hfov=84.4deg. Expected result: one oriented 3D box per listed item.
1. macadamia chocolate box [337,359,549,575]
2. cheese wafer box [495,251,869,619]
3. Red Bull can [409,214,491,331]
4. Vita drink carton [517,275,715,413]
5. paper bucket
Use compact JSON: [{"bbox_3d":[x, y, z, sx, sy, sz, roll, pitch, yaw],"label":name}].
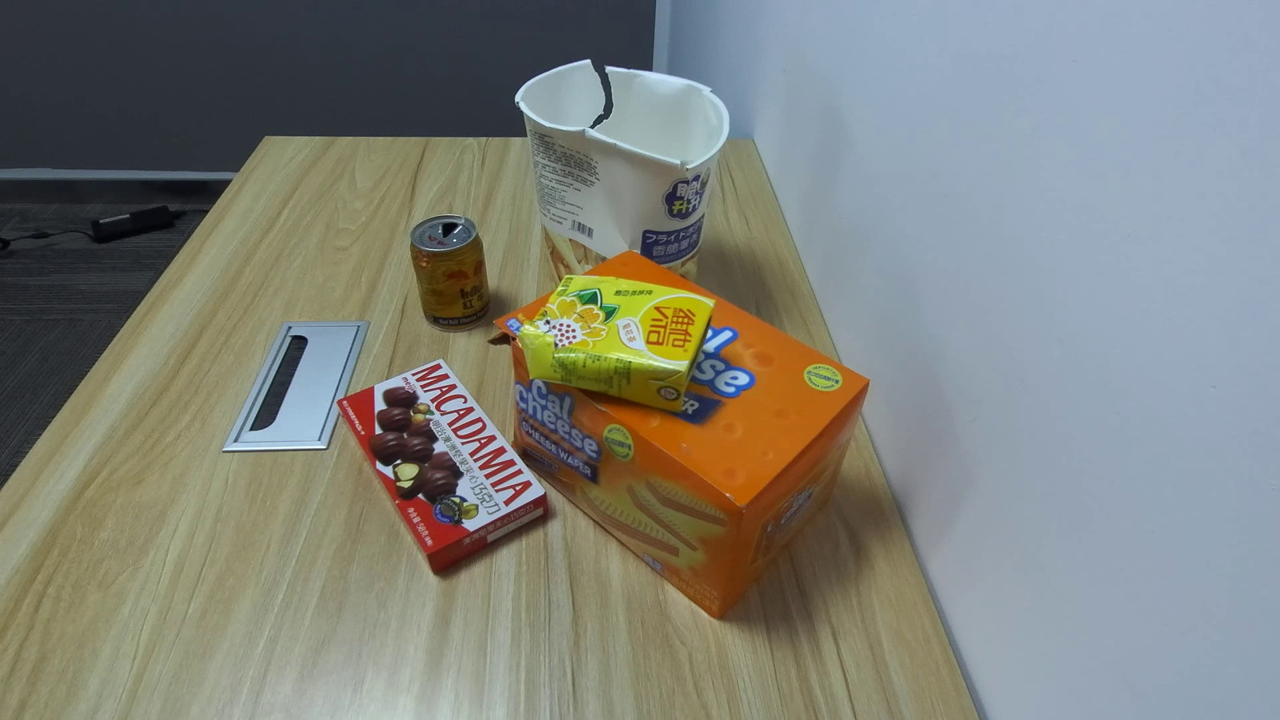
[{"bbox_3d":[-0.157,0.074,0.552,0.096,0.027,0.177,-24,50,-28],"label":"macadamia chocolate box"},{"bbox_3d":[0.023,0.040,0.514,0.226,0.137,0.150,33,52,28],"label":"cheese wafer box"},{"bbox_3d":[-0.179,-0.081,0.670,0.068,0.093,0.068,1,38,-1],"label":"Red Bull can"},{"bbox_3d":[-0.013,-0.013,0.451,0.108,0.042,0.087,14,51,17],"label":"Vita drink carton"},{"bbox_3d":[-0.015,-0.150,0.666,0.202,0.197,0.146,22,46,20],"label":"paper bucket"}]
